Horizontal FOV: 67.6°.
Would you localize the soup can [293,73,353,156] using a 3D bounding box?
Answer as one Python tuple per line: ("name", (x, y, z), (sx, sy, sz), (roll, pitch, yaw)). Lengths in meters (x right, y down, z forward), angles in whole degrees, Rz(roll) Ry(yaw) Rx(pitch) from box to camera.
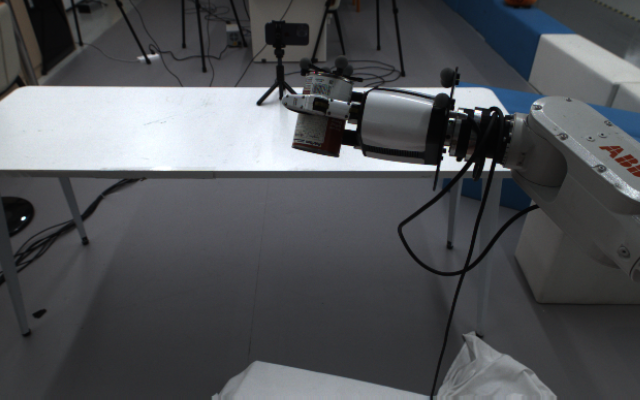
("soup can", (0.004, -0.113, 0.659), (0.067, 0.101, 0.067), (12, 2, 0))
